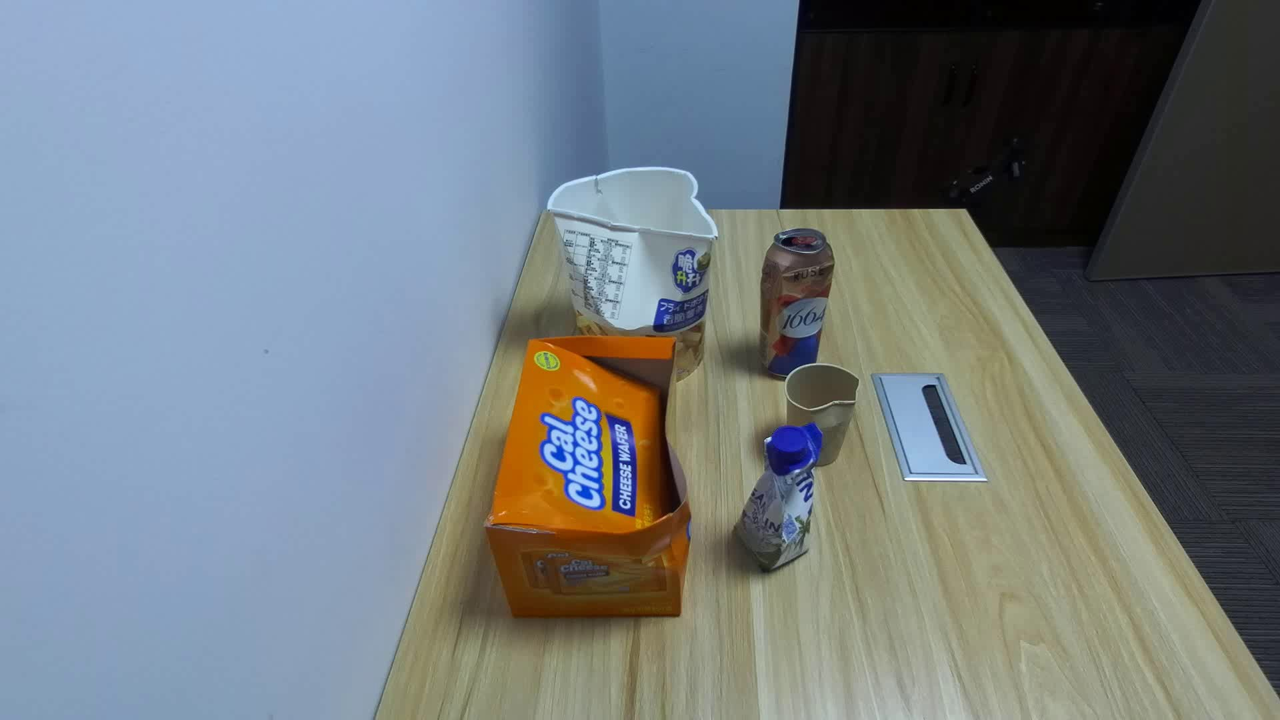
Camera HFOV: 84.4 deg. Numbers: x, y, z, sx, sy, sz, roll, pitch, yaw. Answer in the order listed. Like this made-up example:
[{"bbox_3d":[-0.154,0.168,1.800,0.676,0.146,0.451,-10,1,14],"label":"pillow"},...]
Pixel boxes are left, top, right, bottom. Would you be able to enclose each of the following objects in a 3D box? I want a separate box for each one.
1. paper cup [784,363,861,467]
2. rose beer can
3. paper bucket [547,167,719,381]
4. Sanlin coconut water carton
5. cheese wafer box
[{"bbox_3d":[0.175,0.057,0.700,0.068,0.081,0.073,11,40,18],"label":"paper cup"},{"bbox_3d":[0.171,-0.060,0.780,0.076,0.167,0.065,-8,37,-3],"label":"rose beer can"},{"bbox_3d":[-0.009,-0.085,0.794,0.163,0.202,0.168,-7,36,-4],"label":"paper bucket"},{"bbox_3d":[0.127,0.112,0.591,0.069,0.144,0.056,-14,47,-26],"label":"Sanlin coconut water carton"},{"bbox_3d":[-0.035,0.100,0.627,0.152,0.132,0.230,0,39,1],"label":"cheese wafer box"}]
